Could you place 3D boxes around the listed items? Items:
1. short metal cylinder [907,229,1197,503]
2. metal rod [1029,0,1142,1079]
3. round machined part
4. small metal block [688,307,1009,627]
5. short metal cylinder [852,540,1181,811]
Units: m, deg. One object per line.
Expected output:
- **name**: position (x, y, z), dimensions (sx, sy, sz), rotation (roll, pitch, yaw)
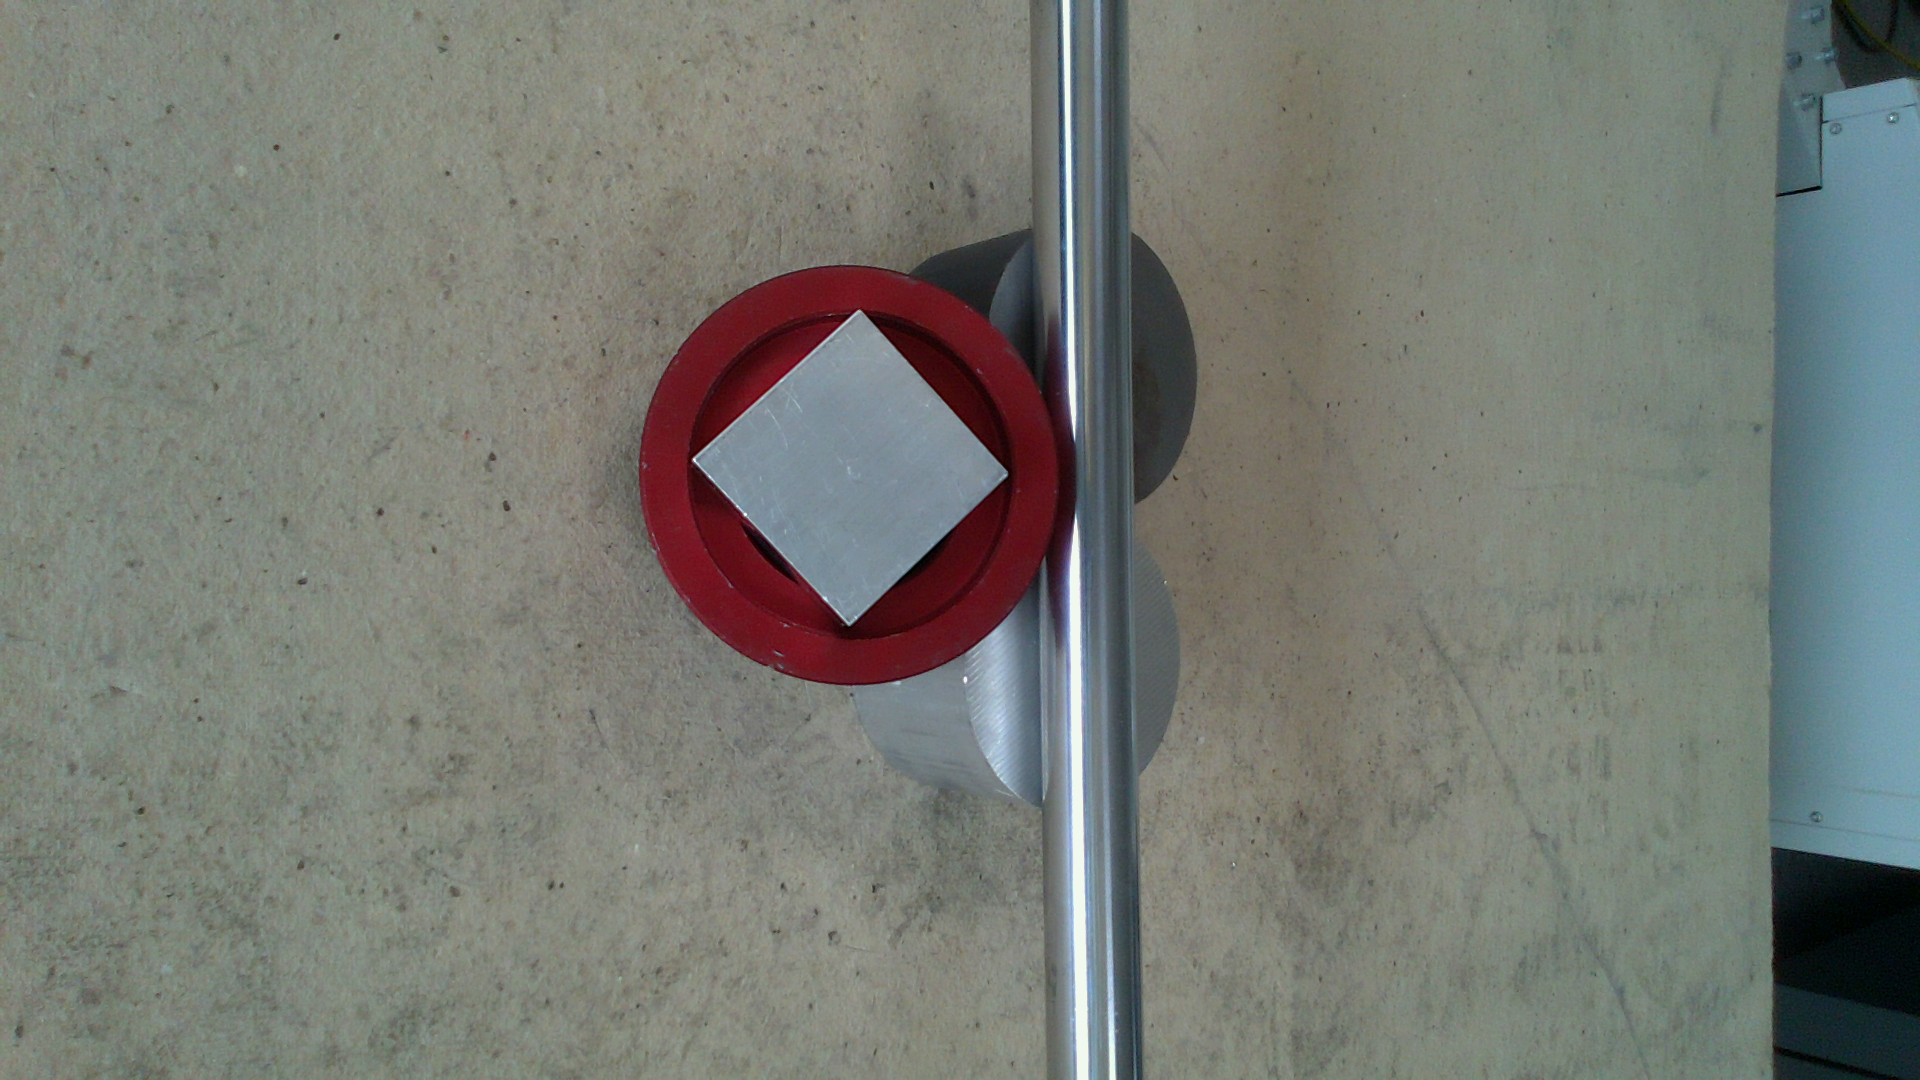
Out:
- **short metal cylinder**: position (0.022, -0.047, 0.391), dimensions (0.080, 0.050, 0.080), rotation (0, 90, -40)
- **metal rod**: position (0.032, -0.011, 0.351), dimensions (0.025, 0.025, 0.300), rotation (-1, 91, -40)
- **round machined part**: position (-0.028, -0.015, 0.338), dimensions (0.098, 0.042, 0.098), rotation (0, 87, -11)
- **small metal block**: position (-0.026, -0.016, 0.314), dimensions (0.050, 0.025, 0.050), rotation (-44, 96, -10)
- **short metal cylinder**: position (0.016, 0.033, 0.386), dimensions (0.080, 0.050, 0.080), rotation (1, 88, -40)
